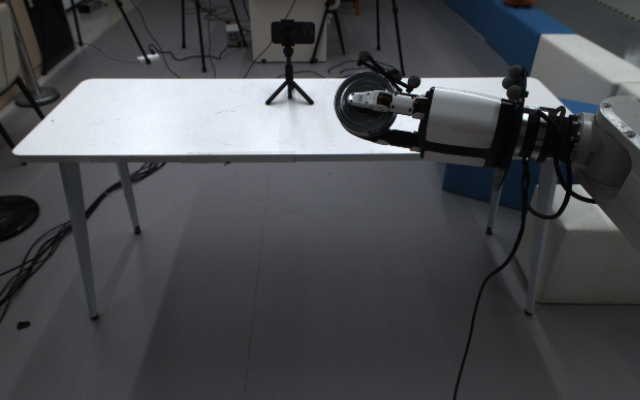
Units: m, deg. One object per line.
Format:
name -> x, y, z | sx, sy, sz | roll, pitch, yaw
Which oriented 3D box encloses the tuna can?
tuna can -> 0.067, -0.125, 0.660 | 0.085, 0.085, 0.034 | 13, -4, 15
